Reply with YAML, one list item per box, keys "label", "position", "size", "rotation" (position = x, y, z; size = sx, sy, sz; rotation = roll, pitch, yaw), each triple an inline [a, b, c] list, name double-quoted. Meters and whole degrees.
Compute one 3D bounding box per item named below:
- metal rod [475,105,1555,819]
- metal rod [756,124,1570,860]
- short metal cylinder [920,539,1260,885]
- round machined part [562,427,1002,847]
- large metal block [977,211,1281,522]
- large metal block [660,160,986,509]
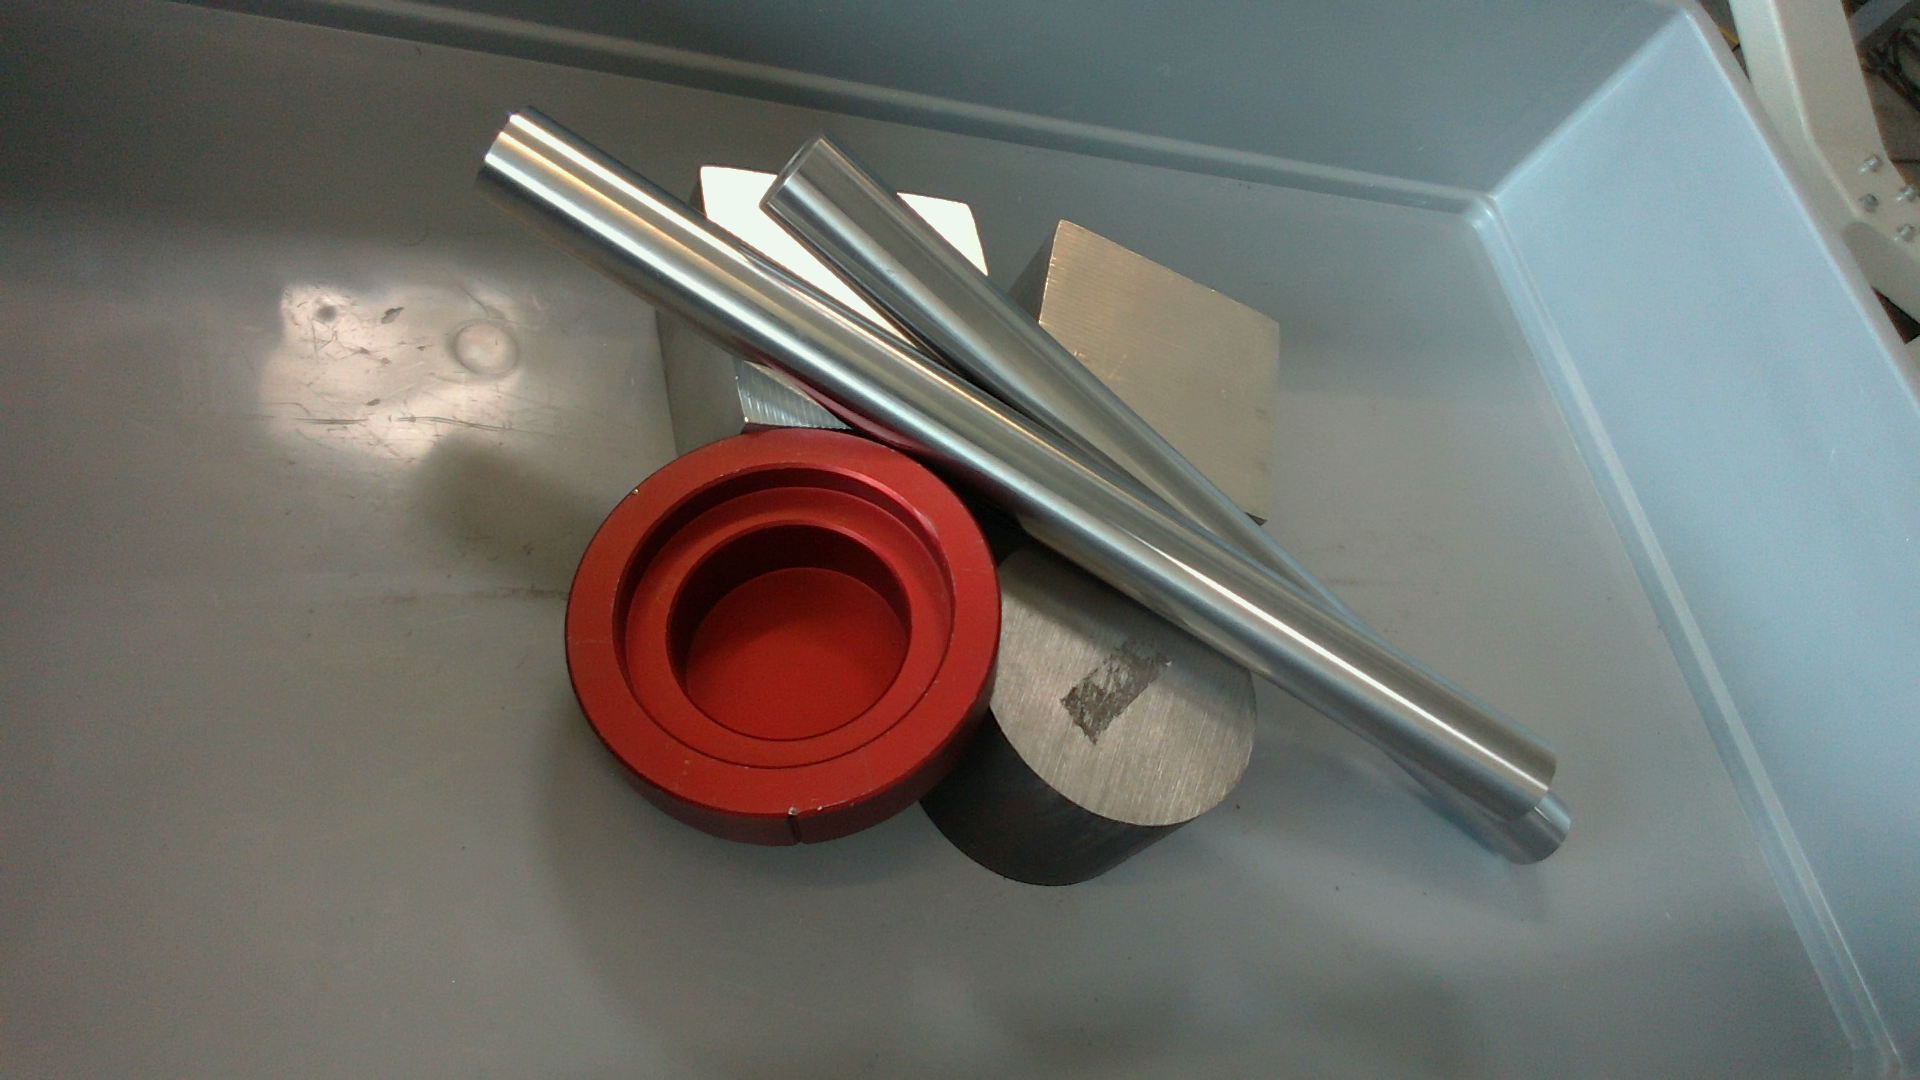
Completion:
- label: "metal rod"
  position: [0.022, -0.013, 0.342]
  size: [0.300, 0.025, 0.025]
  rotation: [31, 52, -9]
- label: "metal rod"
  position: [0.069, 0.000, 0.377]
  size: [0.301, 0.025, 0.025]
  rotation: [39, 49, -20]
- label: "short metal cylinder"
  position: [0.030, 0.044, 0.360]
  size: [0.080, 0.050, 0.080]
  rotation: [14, 56, -21]
- label: "round machined part"
  position: [-0.040, 0.025, 0.326]
  size: [0.098, 0.042, 0.098]
  rotation: [1, 61, -1]
- label: "large metal block"
  position: [0.049, -0.041, 0.422]
  size: [0.080, 0.050, 0.080]
  rotation: [22, 53, -15]
- label: "large metal block"
  position: [-0.035, -0.052, 0.381]
  size: [0.080, 0.050, 0.080]
  rotation: [1, 61, -28]
